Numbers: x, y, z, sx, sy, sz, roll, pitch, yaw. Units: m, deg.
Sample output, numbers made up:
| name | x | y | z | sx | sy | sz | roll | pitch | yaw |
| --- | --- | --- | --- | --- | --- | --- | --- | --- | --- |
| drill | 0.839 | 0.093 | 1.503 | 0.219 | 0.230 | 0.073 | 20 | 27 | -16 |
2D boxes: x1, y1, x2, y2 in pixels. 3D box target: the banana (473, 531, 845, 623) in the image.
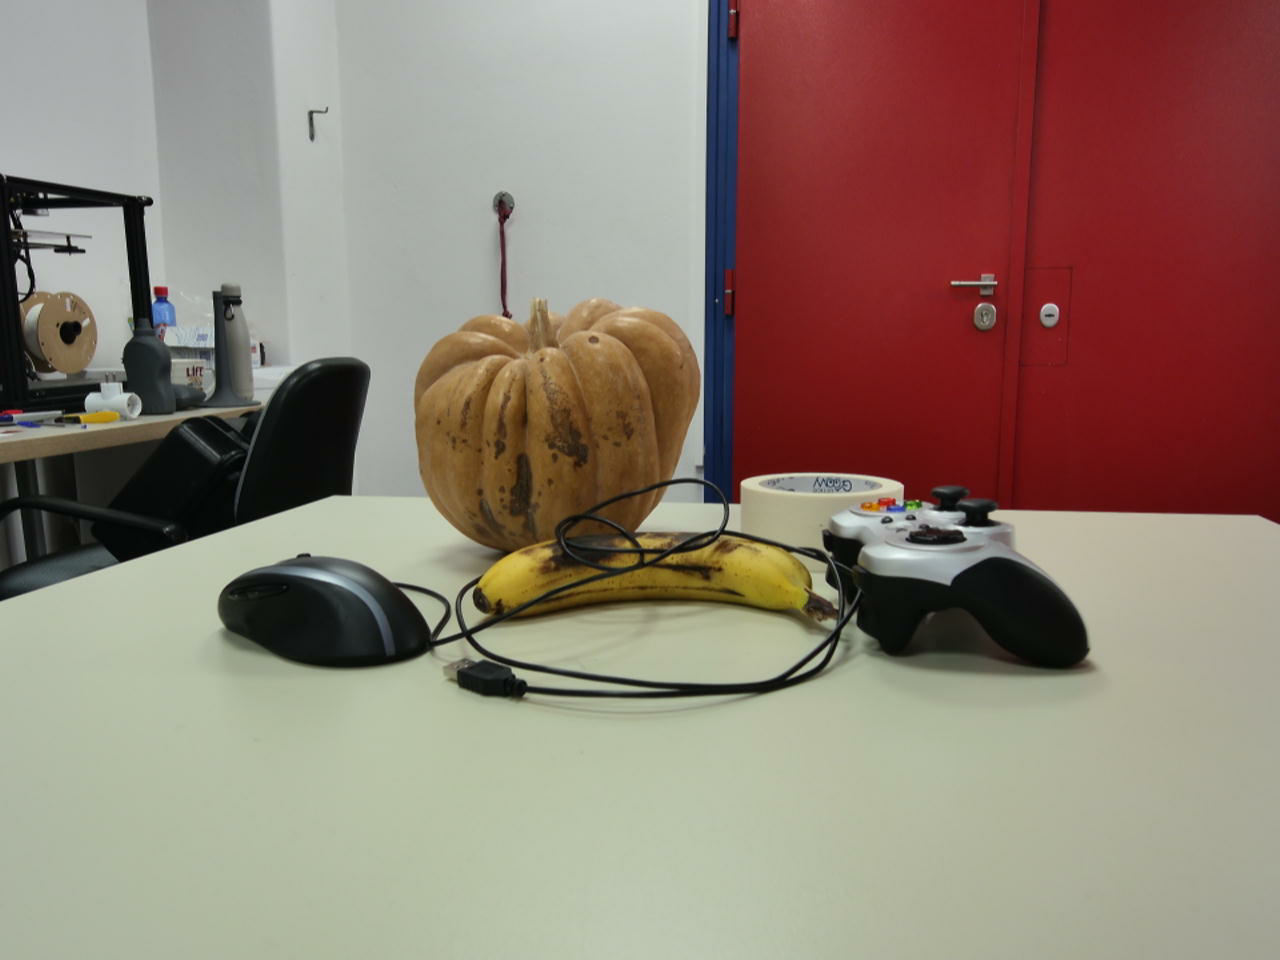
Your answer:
| name | x | y | z | sx | sy | sz | roll | pitch | yaw |
| --- | --- | --- | --- | --- | --- | --- | --- | --- | --- |
| banana | 0.012 | 0.052 | 0.540 | 0.187 | 0.039 | 0.094 | 1 | 6 | 10 |
